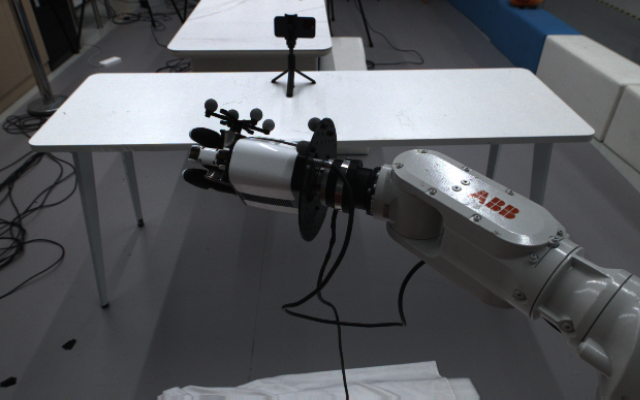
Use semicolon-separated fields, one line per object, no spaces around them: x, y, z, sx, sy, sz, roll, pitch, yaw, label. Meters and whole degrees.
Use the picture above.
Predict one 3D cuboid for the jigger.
-0.122;-0.056;0.652;0.043;0.071;0.043;15;-7;2;jigger
